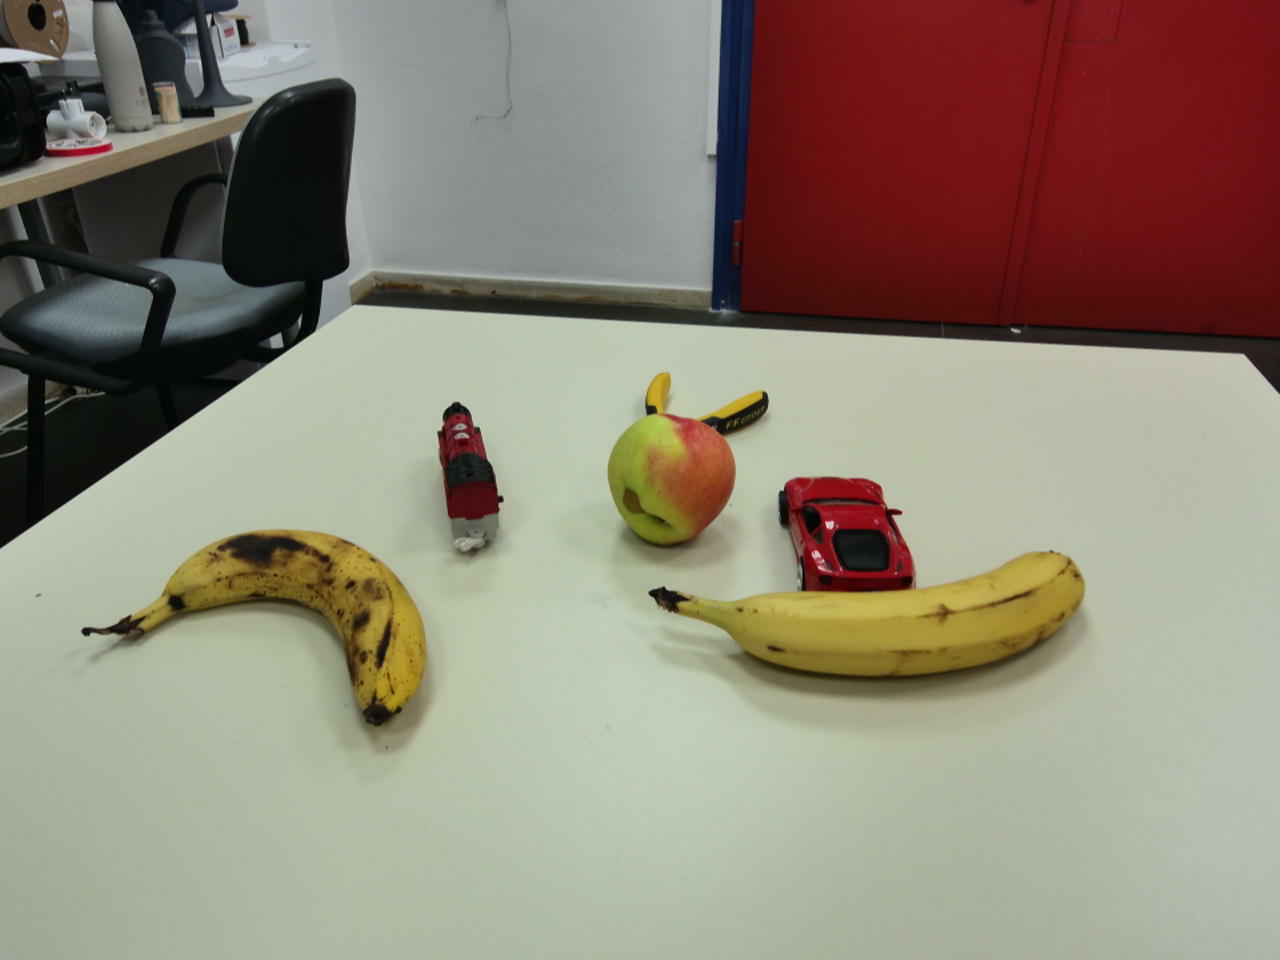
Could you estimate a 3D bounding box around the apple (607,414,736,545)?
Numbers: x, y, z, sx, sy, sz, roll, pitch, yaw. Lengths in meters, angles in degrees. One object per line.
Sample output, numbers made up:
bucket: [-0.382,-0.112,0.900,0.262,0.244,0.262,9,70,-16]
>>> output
apple: [0.019,-0.001,0.583,0.075,0.074,0.075,-3,26,-7]
